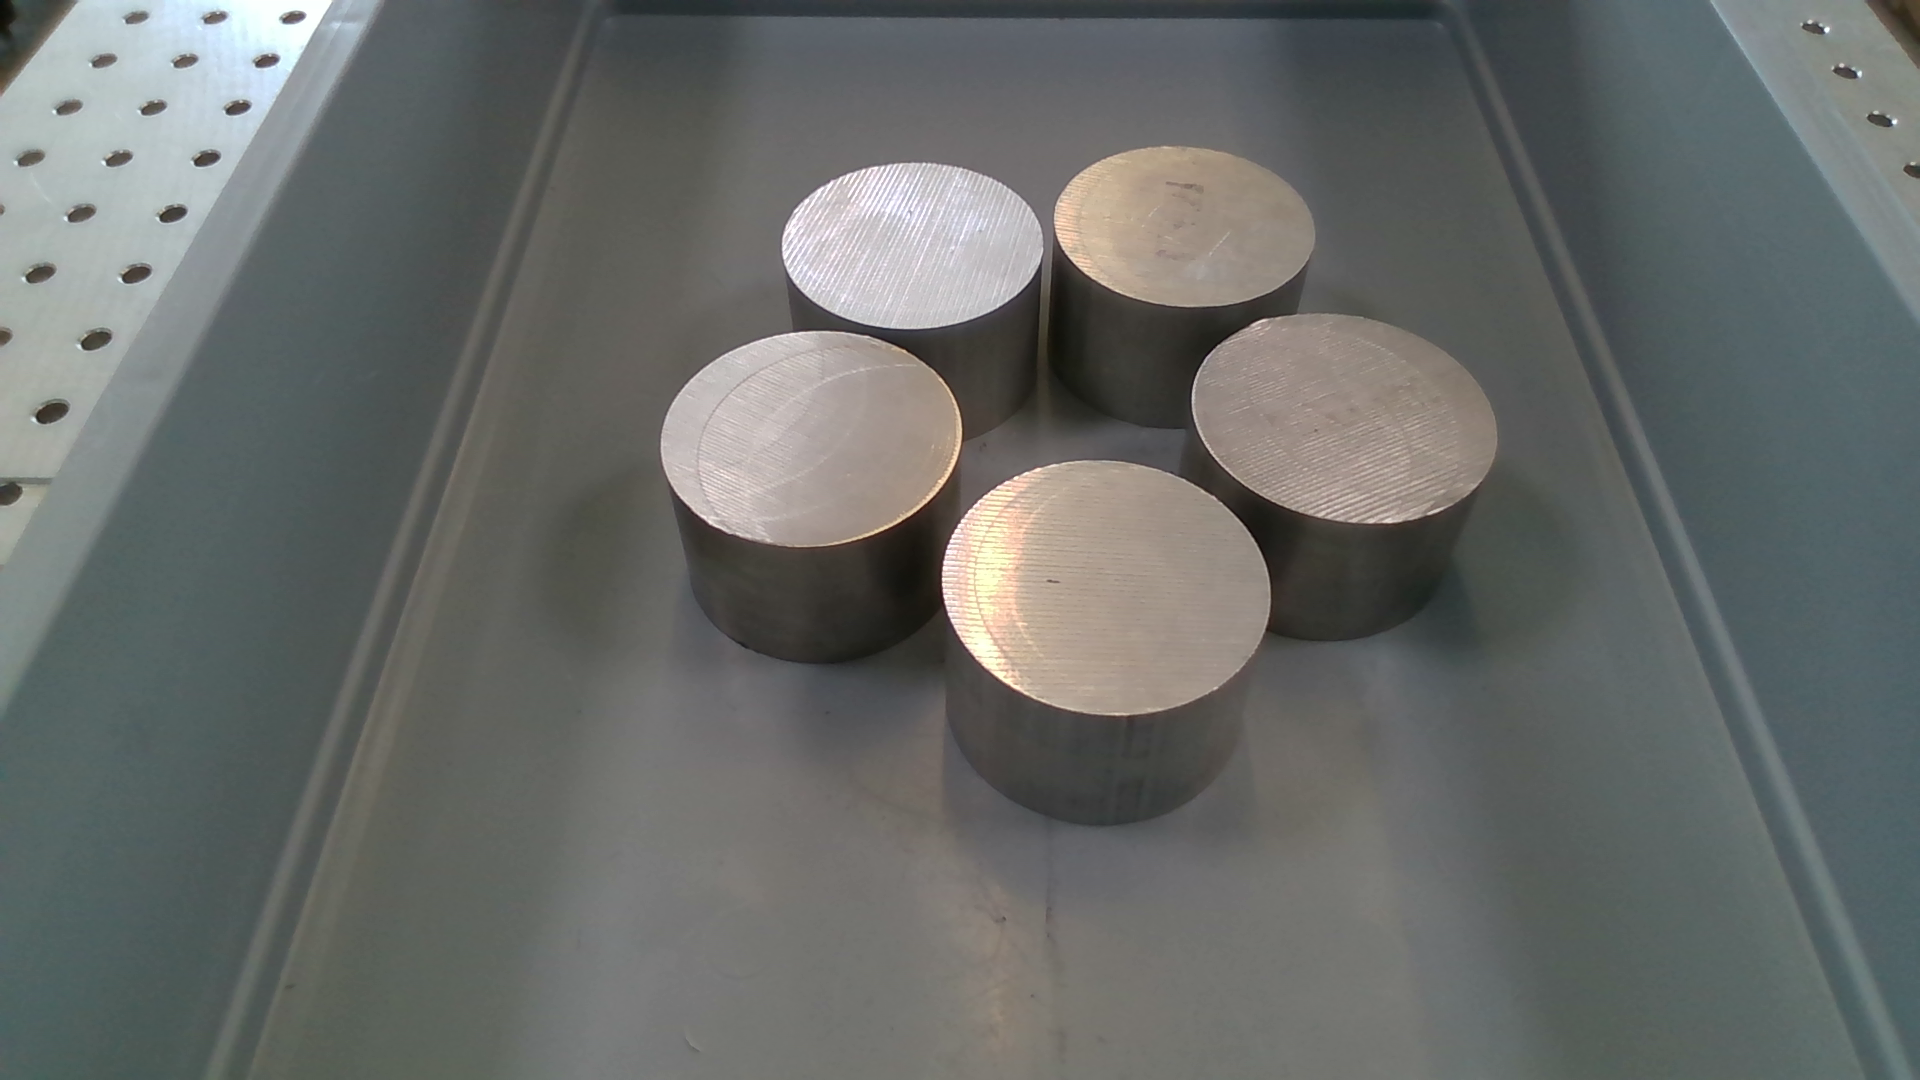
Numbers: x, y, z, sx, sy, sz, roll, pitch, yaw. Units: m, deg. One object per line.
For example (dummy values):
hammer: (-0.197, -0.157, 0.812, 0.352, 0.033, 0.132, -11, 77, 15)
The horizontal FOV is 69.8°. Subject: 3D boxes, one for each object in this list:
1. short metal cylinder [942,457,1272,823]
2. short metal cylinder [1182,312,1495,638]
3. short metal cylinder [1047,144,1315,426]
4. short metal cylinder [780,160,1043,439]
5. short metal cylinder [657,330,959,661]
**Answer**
short metal cylinder: (0.036, 0.025, 0.355, 0.080, 0.050, 0.080, 0, 50, 0)
short metal cylinder: (0.104, -0.019, 0.391, 0.080, 0.050, 0.080, 0, 50, 0)
short metal cylinder: (0.069, -0.083, 0.445, 0.080, 0.050, 0.080, 0, 50, 0)
short metal cylinder: (-0.015, -0.076, 0.439, 0.080, 0.050, 0.080, 0, 50, 0)
short metal cylinder: (-0.040, -0.013, 0.386, 0.080, 0.050, 0.080, 0, 50, 0)
